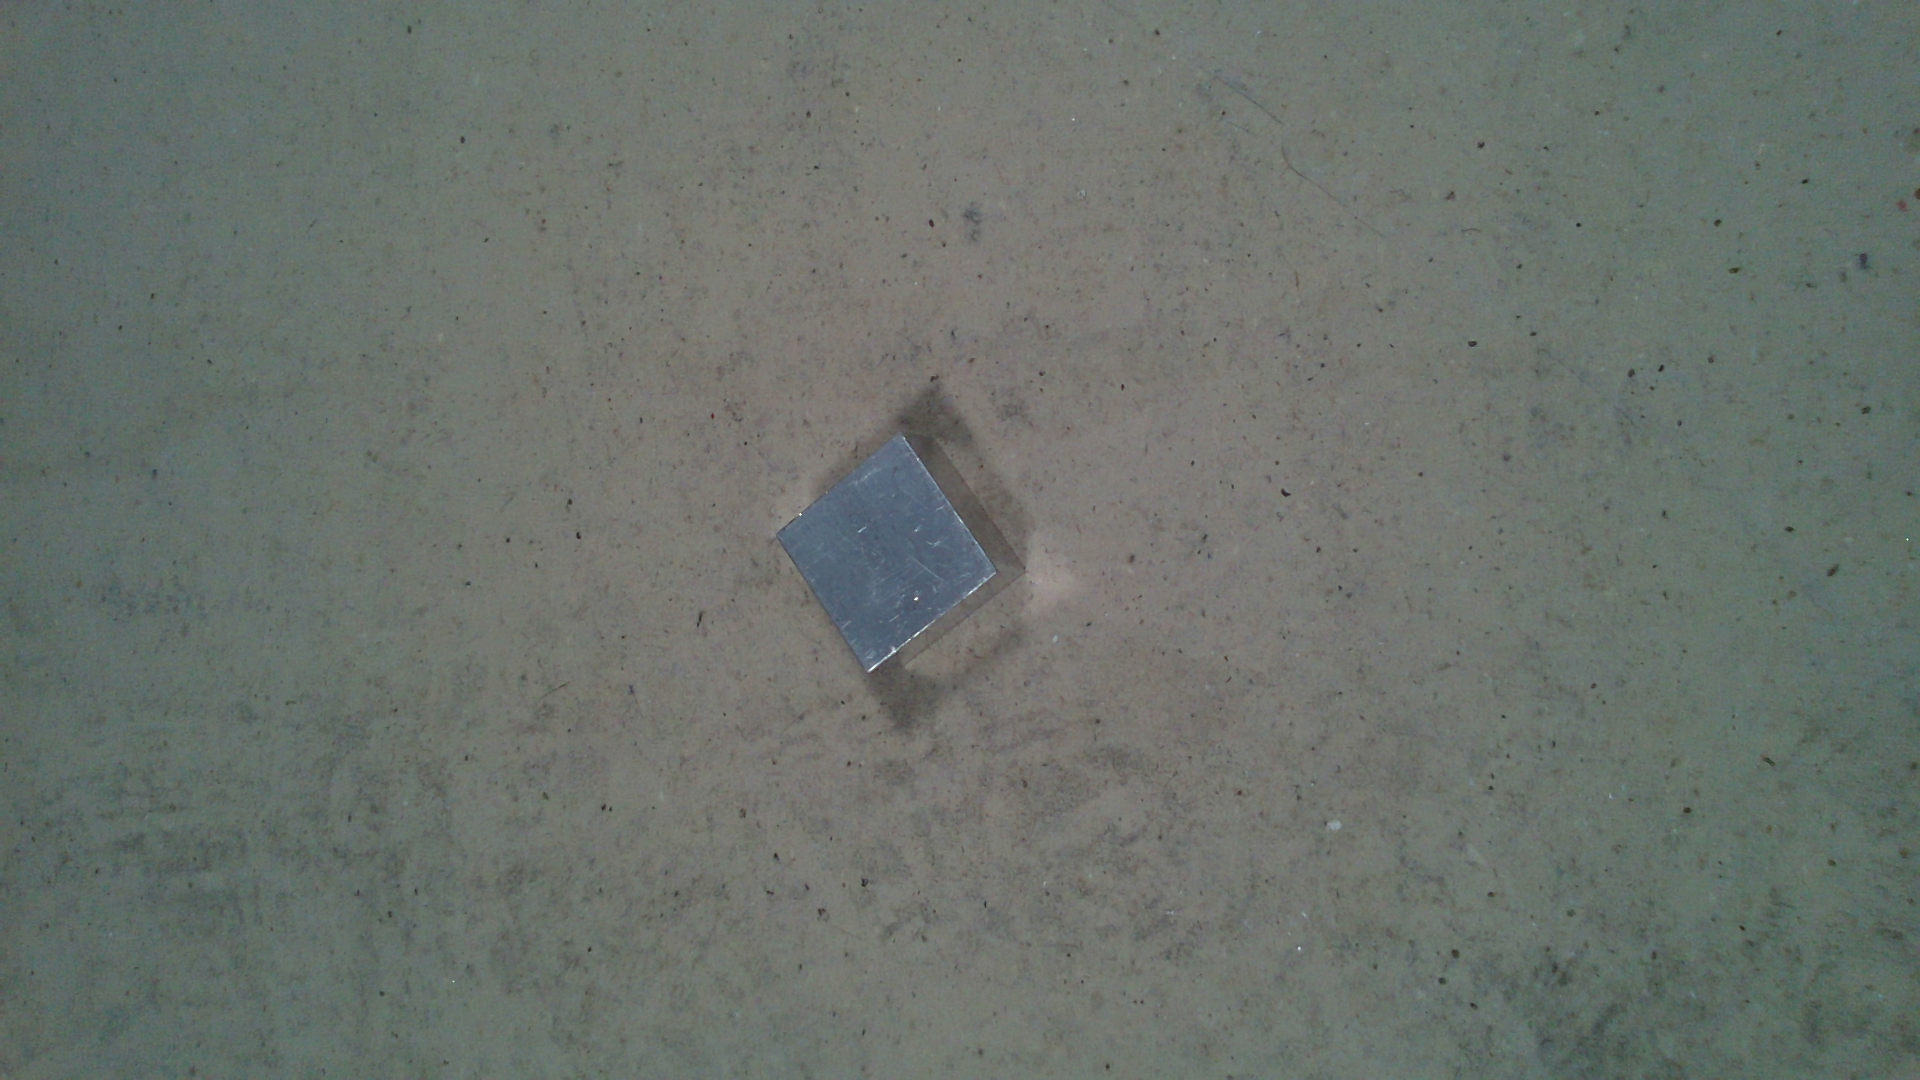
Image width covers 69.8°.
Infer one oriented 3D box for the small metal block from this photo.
[{"bbox_3d":[-0.018,0.004,0.403,0.050,0.025,0.050,-39,78,16],"label":"small metal block"}]
